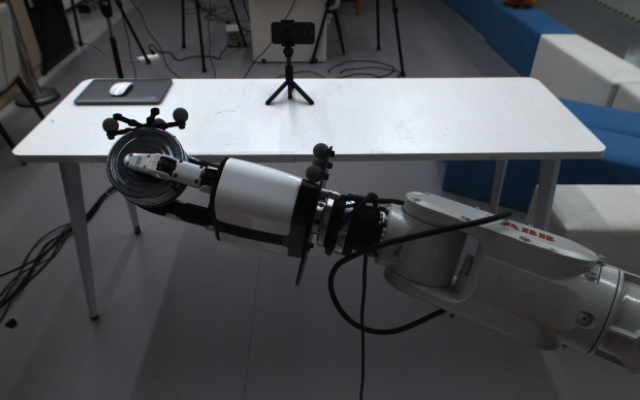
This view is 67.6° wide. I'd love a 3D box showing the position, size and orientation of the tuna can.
[{"bbox_3d":[-0.187,-0.032,0.538,0.085,0.034,0.085,0,72,-2],"label":"tuna can"}]
